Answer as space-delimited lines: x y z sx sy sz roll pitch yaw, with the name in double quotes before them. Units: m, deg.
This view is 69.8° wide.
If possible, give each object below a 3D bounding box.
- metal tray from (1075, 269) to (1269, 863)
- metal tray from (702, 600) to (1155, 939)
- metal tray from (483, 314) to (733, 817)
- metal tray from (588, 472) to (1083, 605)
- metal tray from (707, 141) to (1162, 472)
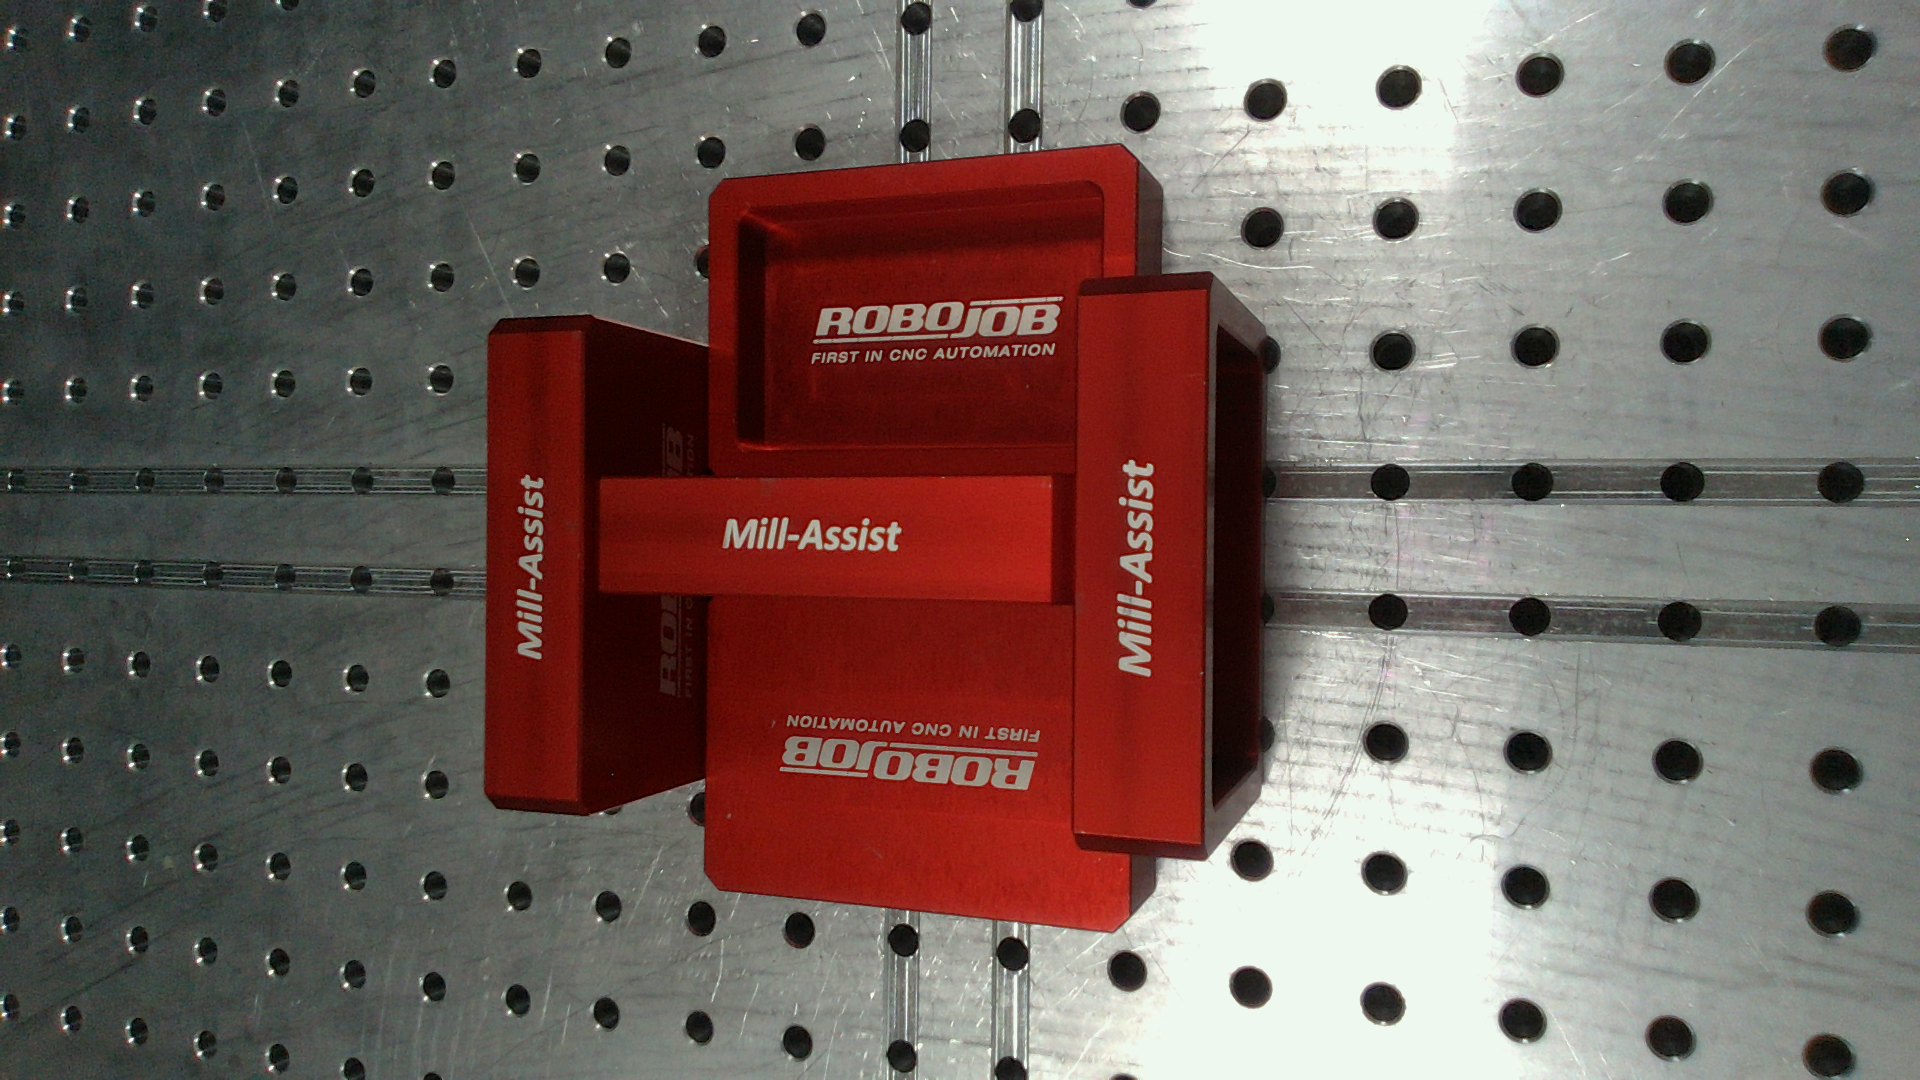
"metal tray" 0.056 0.006 0.343 0.030 0.090 0.130 1 90 20
"metal tray" -0.010 0.060 0.398 0.130 0.030 0.090 1 90 20
"metal tray" -0.095 0.006 0.398 0.030 0.090 0.130 1 90 20
"metal tray" -0.021 -0.001 0.370 0.130 0.090 0.030 1 90 20
"metal tray" -0.009 -0.062 0.399 0.130 0.030 0.090 1 90 20
